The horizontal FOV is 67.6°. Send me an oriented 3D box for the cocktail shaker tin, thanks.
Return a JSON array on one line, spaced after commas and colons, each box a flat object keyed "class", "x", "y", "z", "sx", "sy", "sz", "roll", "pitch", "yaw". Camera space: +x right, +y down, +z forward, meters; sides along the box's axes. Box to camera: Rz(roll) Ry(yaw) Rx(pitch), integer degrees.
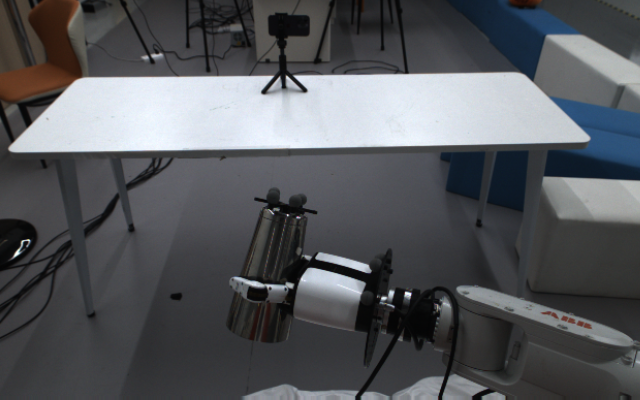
[{"class": "cocktail shaker tin", "x": -0.067, "y": 0.099, "z": 0.673, "sx": 0.093, "sy": 0.170, "sz": 0.093, "roll": 13, "pitch": 5, "yaw": -1}]
